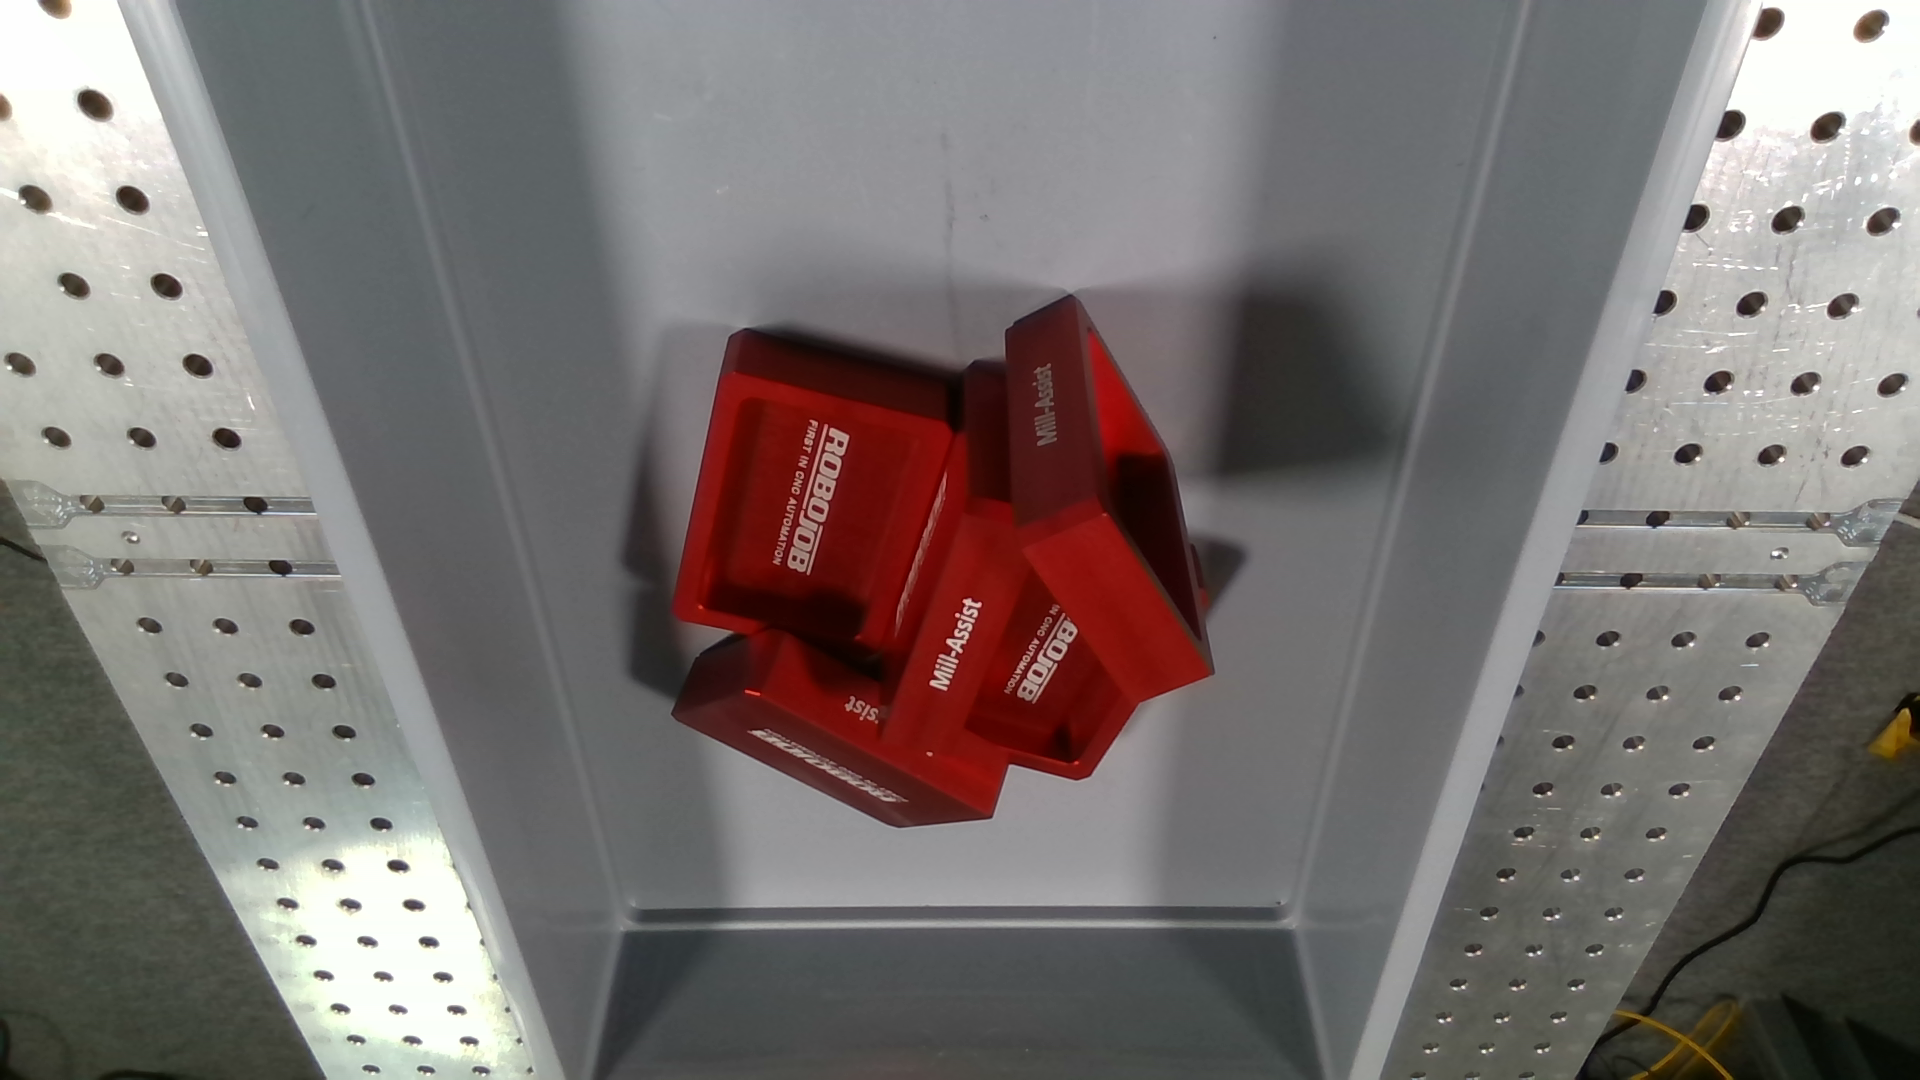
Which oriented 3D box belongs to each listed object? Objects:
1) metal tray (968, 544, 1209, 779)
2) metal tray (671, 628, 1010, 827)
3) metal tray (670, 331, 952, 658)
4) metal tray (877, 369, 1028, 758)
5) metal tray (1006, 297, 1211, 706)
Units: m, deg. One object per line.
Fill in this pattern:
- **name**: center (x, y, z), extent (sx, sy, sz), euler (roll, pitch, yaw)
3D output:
- **metal tray**: center (0.041, 0.047, 0.613), extent (0.090, 0.030, 0.130), euler (16, 128, -13)
- **metal tray**: center (-0.054, 0.089, 0.623), extent (0.130, 0.030, 0.090), euler (32, 151, -23)
- **metal tray**: center (-0.062, -0.014, 0.560), extent (0.090, 0.030, 0.130), euler (12, 129, -10)
- **metal tray**: center (-0.002, 0.011, 0.543), extent (0.030, 0.090, 0.130), euler (12, 129, -10)
- **metal tray**: center (0.052, -0.017, 0.494), extent (0.030, 0.130, 0.090), euler (-24, 125, 19)
